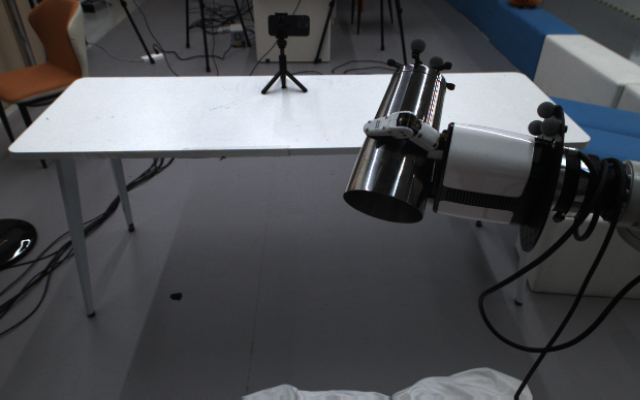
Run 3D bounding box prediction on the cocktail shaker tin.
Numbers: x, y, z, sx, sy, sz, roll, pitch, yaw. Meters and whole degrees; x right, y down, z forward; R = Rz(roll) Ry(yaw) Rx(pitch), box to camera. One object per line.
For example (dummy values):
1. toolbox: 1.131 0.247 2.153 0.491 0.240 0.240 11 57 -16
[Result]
1. cocktail shaker tin: 0.097 -0.068 0.563 0.093 0.093 0.170 14 73 16
